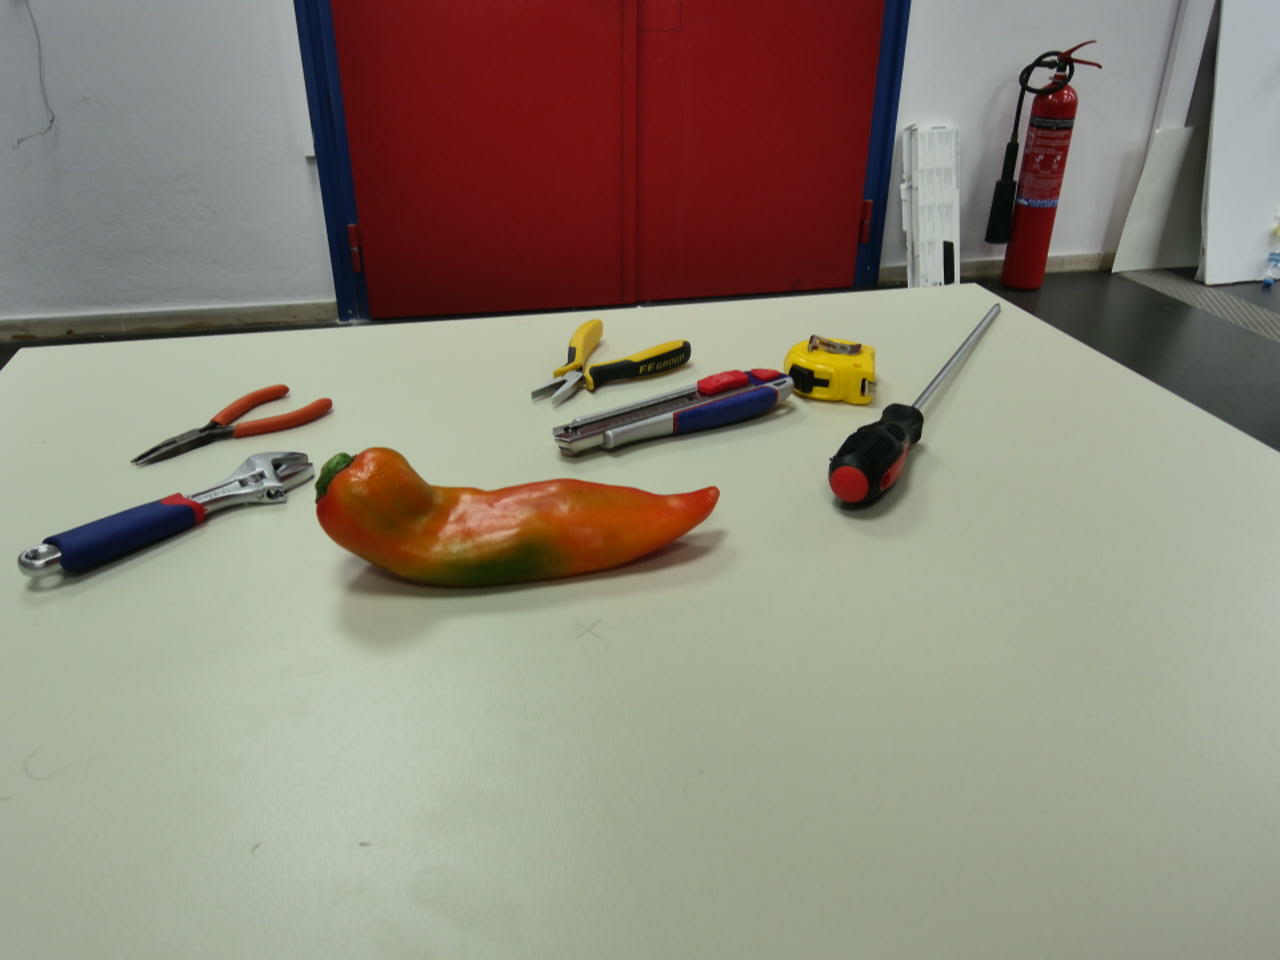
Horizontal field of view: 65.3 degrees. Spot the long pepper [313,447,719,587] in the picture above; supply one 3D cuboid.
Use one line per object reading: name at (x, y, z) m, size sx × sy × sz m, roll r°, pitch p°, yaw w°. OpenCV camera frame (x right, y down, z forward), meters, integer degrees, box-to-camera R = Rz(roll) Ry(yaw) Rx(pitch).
long pepper at (-0.056, 0.011, 0.491) m, size 0.199 × 0.065 × 0.066 m, roll -4°, pitch 26°, yaw -7°
